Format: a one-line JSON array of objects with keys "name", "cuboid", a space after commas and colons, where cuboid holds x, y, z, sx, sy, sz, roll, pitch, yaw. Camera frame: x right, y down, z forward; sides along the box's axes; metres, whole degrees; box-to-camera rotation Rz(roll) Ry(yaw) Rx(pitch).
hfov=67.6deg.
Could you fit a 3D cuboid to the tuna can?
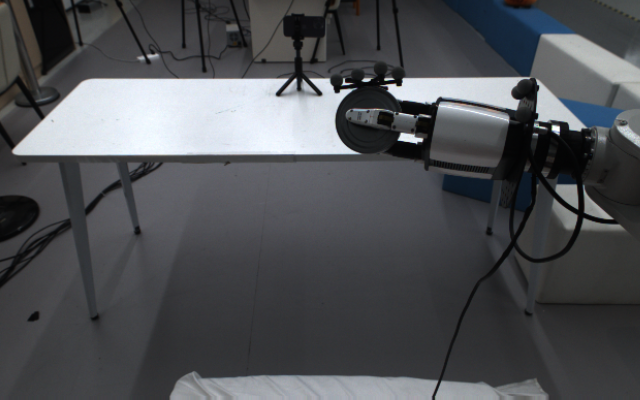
[{"name": "tuna can", "cuboid": [0.065, -0.102, 0.629, 0.085, 0.085, 0.034, 10, 3, 11]}]
